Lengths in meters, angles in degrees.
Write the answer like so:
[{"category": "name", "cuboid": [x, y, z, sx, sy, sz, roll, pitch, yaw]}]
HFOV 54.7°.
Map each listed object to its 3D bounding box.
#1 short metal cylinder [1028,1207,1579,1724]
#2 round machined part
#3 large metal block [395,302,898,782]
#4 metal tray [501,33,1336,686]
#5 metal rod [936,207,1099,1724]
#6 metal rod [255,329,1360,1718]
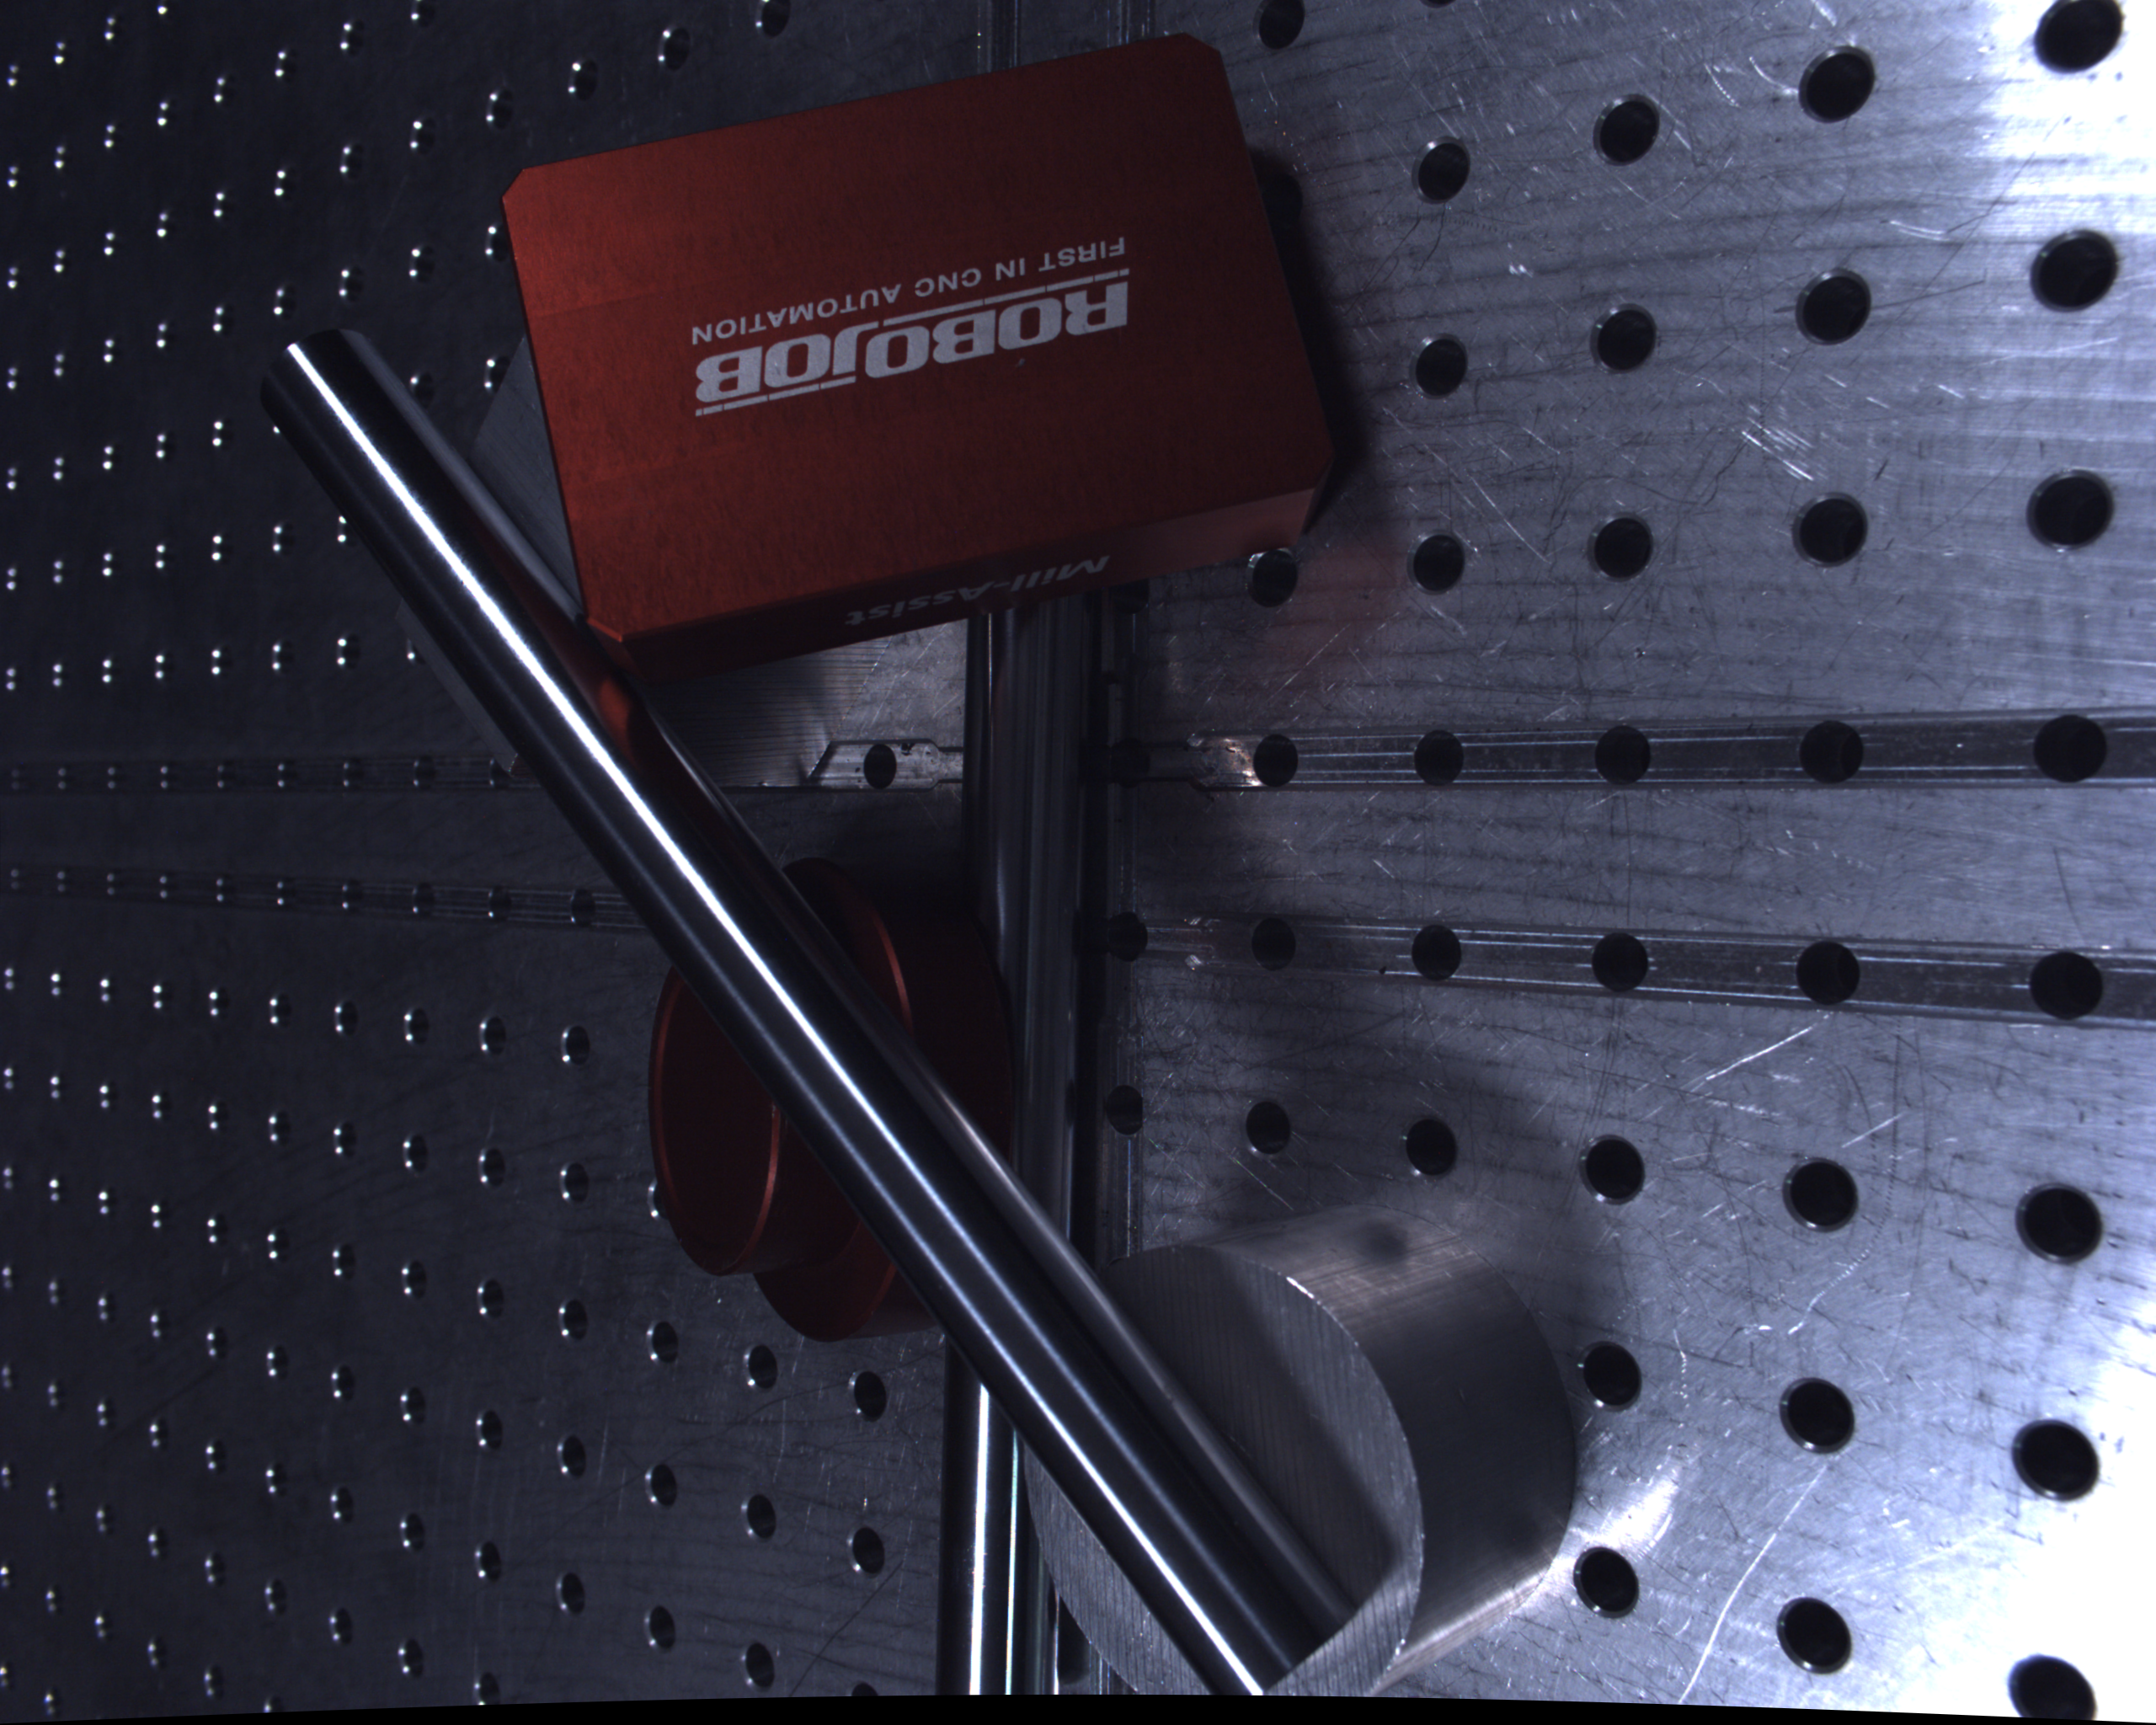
[{"category": "short metal cylinder", "cuboid": [0.038, 0.103, 0.361, 0.080, 0.050, 0.079, 0, 90, 39]}, {"category": "round machined part", "cuboid": [-0.056, 0.048, 0.421, 0.098, 0.042, 0.097, -1, 89, 57]}, {"category": "large metal block", "cuboid": [-0.083, -0.065, 0.441, 0.050, 0.081, 0.080, 49, 119, 28]}, {"category": "metal tray", "cuboid": [-0.029, -0.091, 0.376, 0.131, 0.030, 0.090, -13, 79, -4]}, {"category": "metal rod", "cuboid": [-0.011, 0.020, 0.417, 0.025, 0.025, 0.298, 3, 92, 39]}, {"category": "metal rod", "cuboid": [-0.059, 0.013, 0.364, 0.300, 0.025, 0.025, 50, 119, 19]}]
